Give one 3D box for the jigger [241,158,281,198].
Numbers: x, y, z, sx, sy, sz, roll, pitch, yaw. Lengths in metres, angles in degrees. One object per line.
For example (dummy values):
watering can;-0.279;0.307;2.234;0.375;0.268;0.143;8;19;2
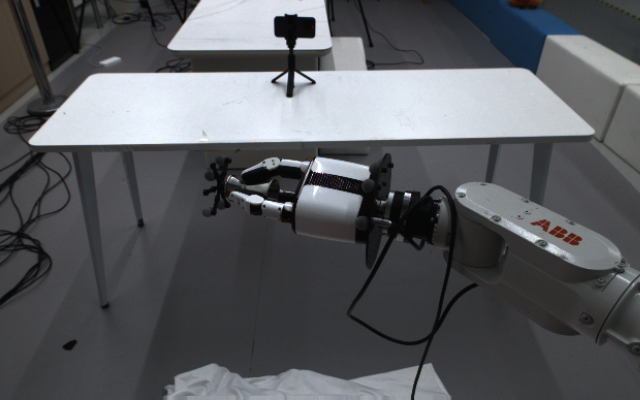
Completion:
jigger;-0.092;-0.016;0.696;0.071;0.043;0.043;8;35;17
